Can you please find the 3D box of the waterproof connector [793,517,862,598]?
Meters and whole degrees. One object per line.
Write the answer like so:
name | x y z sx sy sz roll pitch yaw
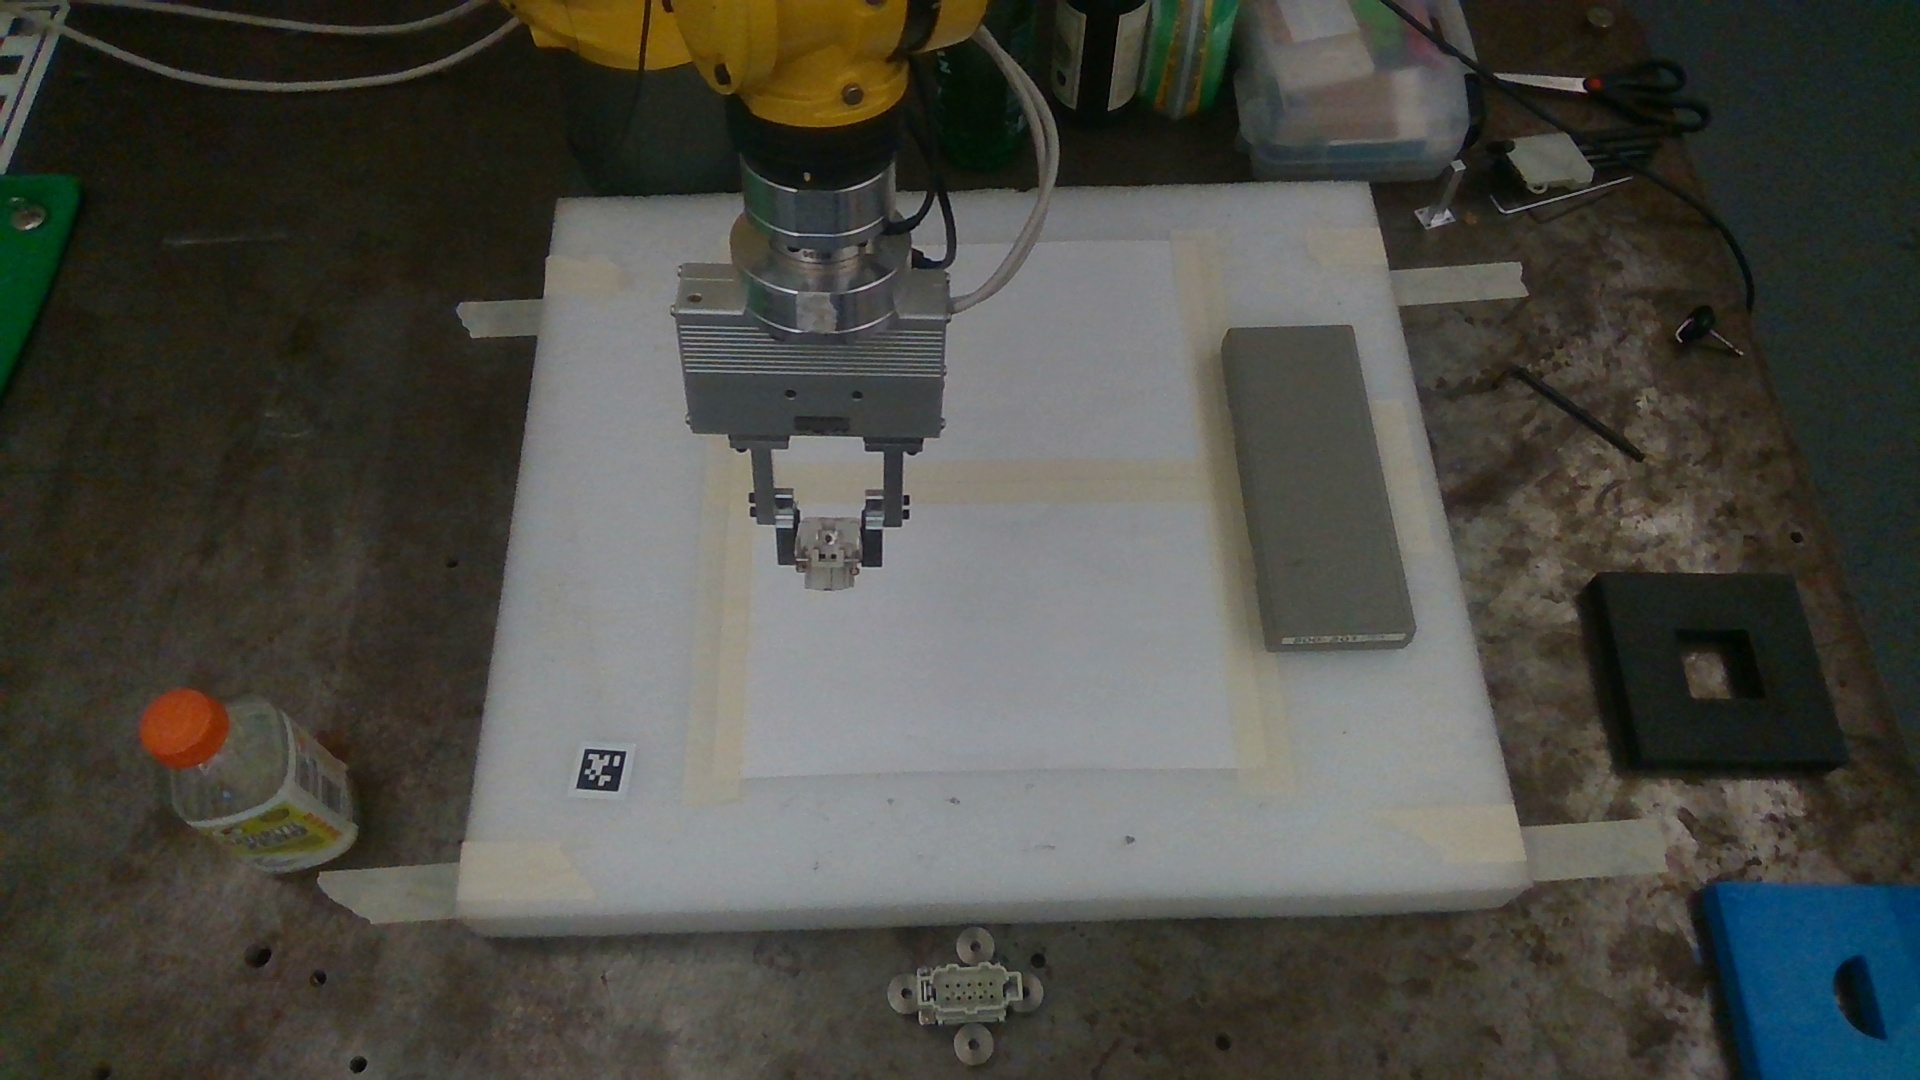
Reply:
waterproof connector | -0.074 0.009 0.772 0.036 0.069 0.038 0 98 -7
